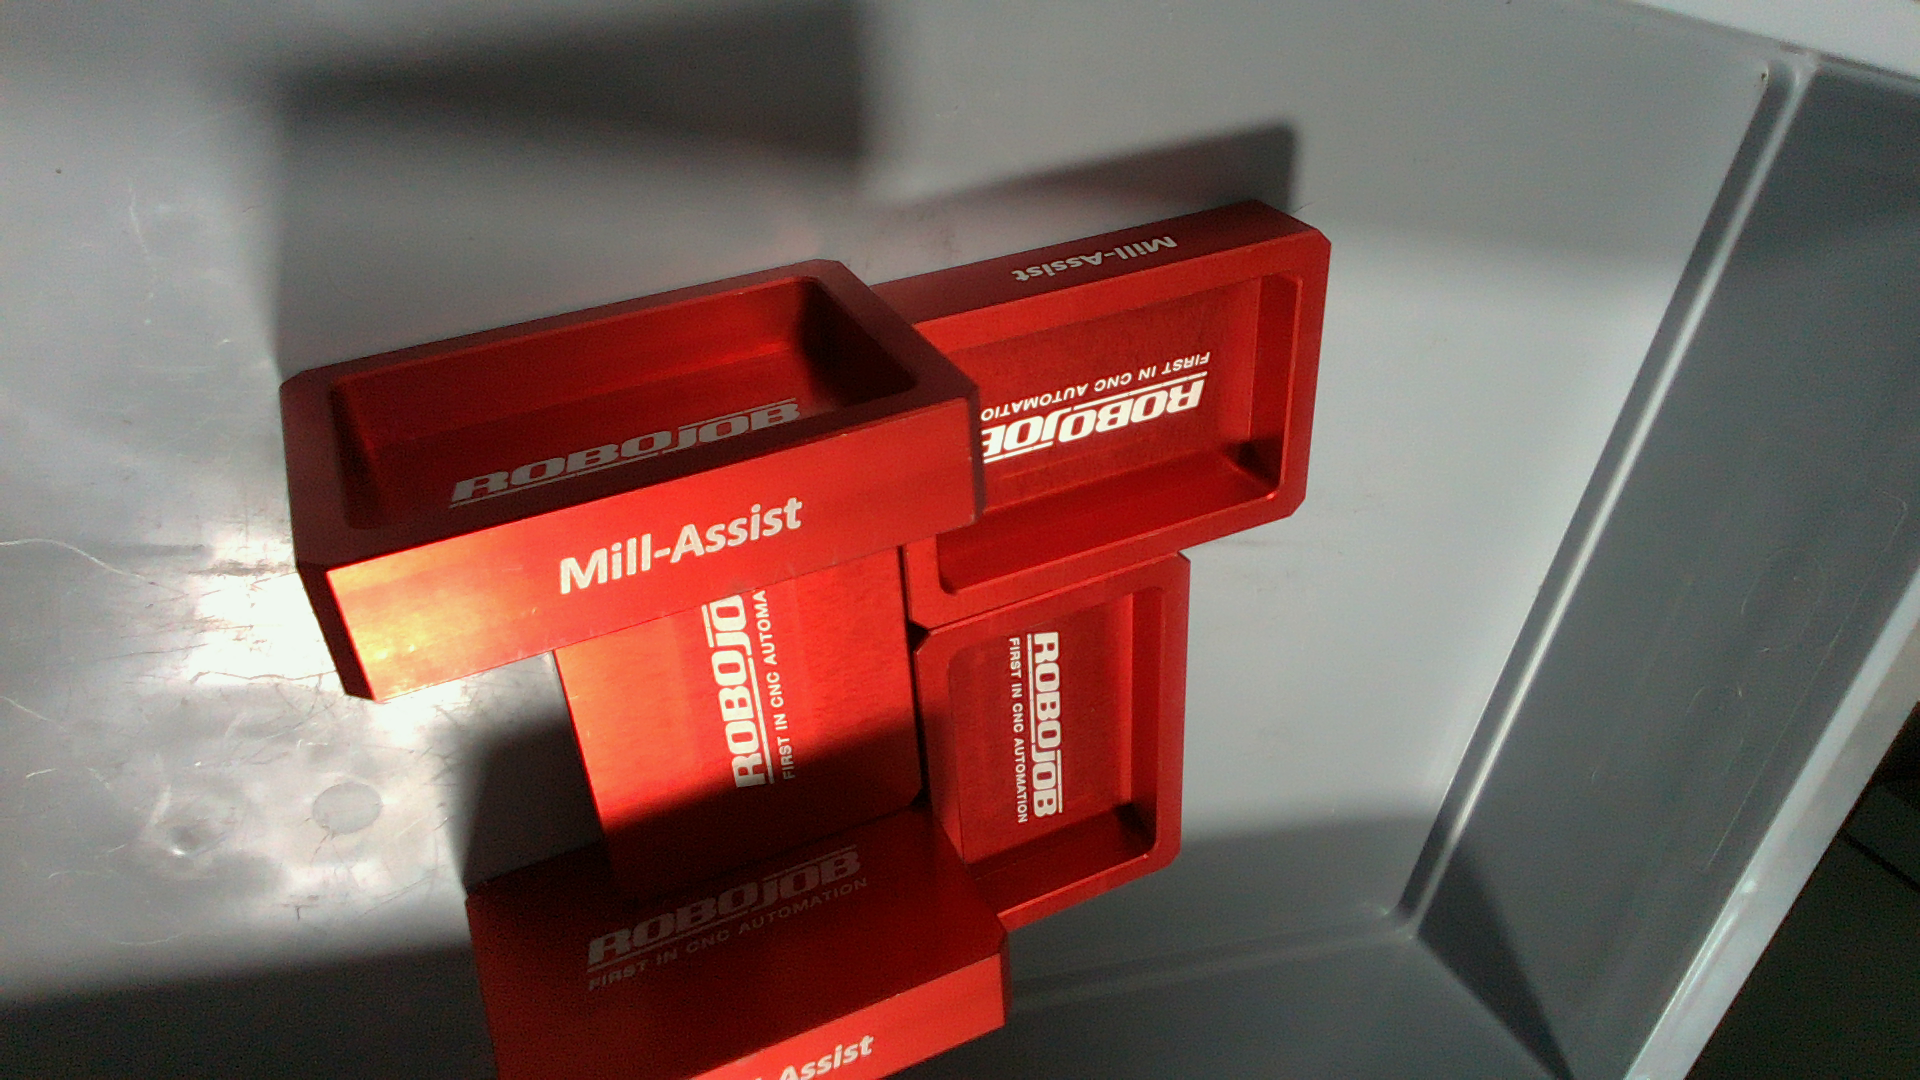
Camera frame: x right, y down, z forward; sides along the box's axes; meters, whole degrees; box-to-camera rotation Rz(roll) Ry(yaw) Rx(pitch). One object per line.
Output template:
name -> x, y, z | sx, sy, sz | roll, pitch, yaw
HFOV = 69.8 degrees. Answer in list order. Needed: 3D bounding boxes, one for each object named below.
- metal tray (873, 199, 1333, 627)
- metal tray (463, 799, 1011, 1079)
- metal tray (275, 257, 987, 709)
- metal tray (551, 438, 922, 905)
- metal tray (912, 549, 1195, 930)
metal tray -> 0.038, -0.036, 0.382 | 0.130, 0.030, 0.090 | -16, 125, -19
metal tray -> -0.062, 0.115, 0.381 | 0.130, 0.090, 0.030 | -16, 125, -19
metal tray -> -0.071, -0.020, 0.293 | 0.130, 0.090, 0.030 | -17, 125, -19
metal tray -> -0.061, 0.029, 0.367 | 0.090, 0.030, 0.130 | -16, 125, -19
metal tray -> 0.026, 0.062, 0.436 | 0.090, 0.030, 0.130 | -16, 125, -19
